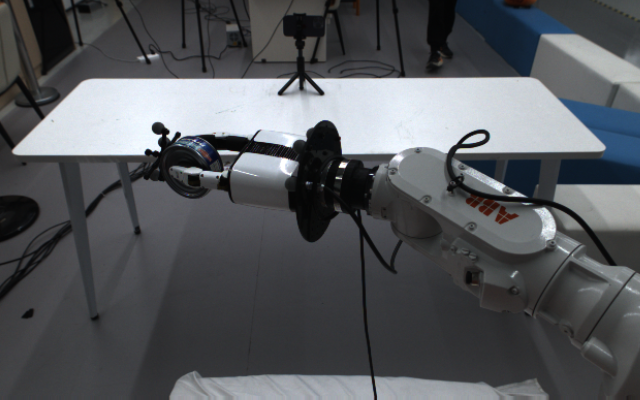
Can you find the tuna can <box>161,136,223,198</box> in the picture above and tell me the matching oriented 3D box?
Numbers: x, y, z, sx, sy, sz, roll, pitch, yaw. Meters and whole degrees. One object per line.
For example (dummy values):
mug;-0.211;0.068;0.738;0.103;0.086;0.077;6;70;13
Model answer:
tuna can;-0.181;-0.047;0.689;0.085;0.085;0.034;12;32;14
